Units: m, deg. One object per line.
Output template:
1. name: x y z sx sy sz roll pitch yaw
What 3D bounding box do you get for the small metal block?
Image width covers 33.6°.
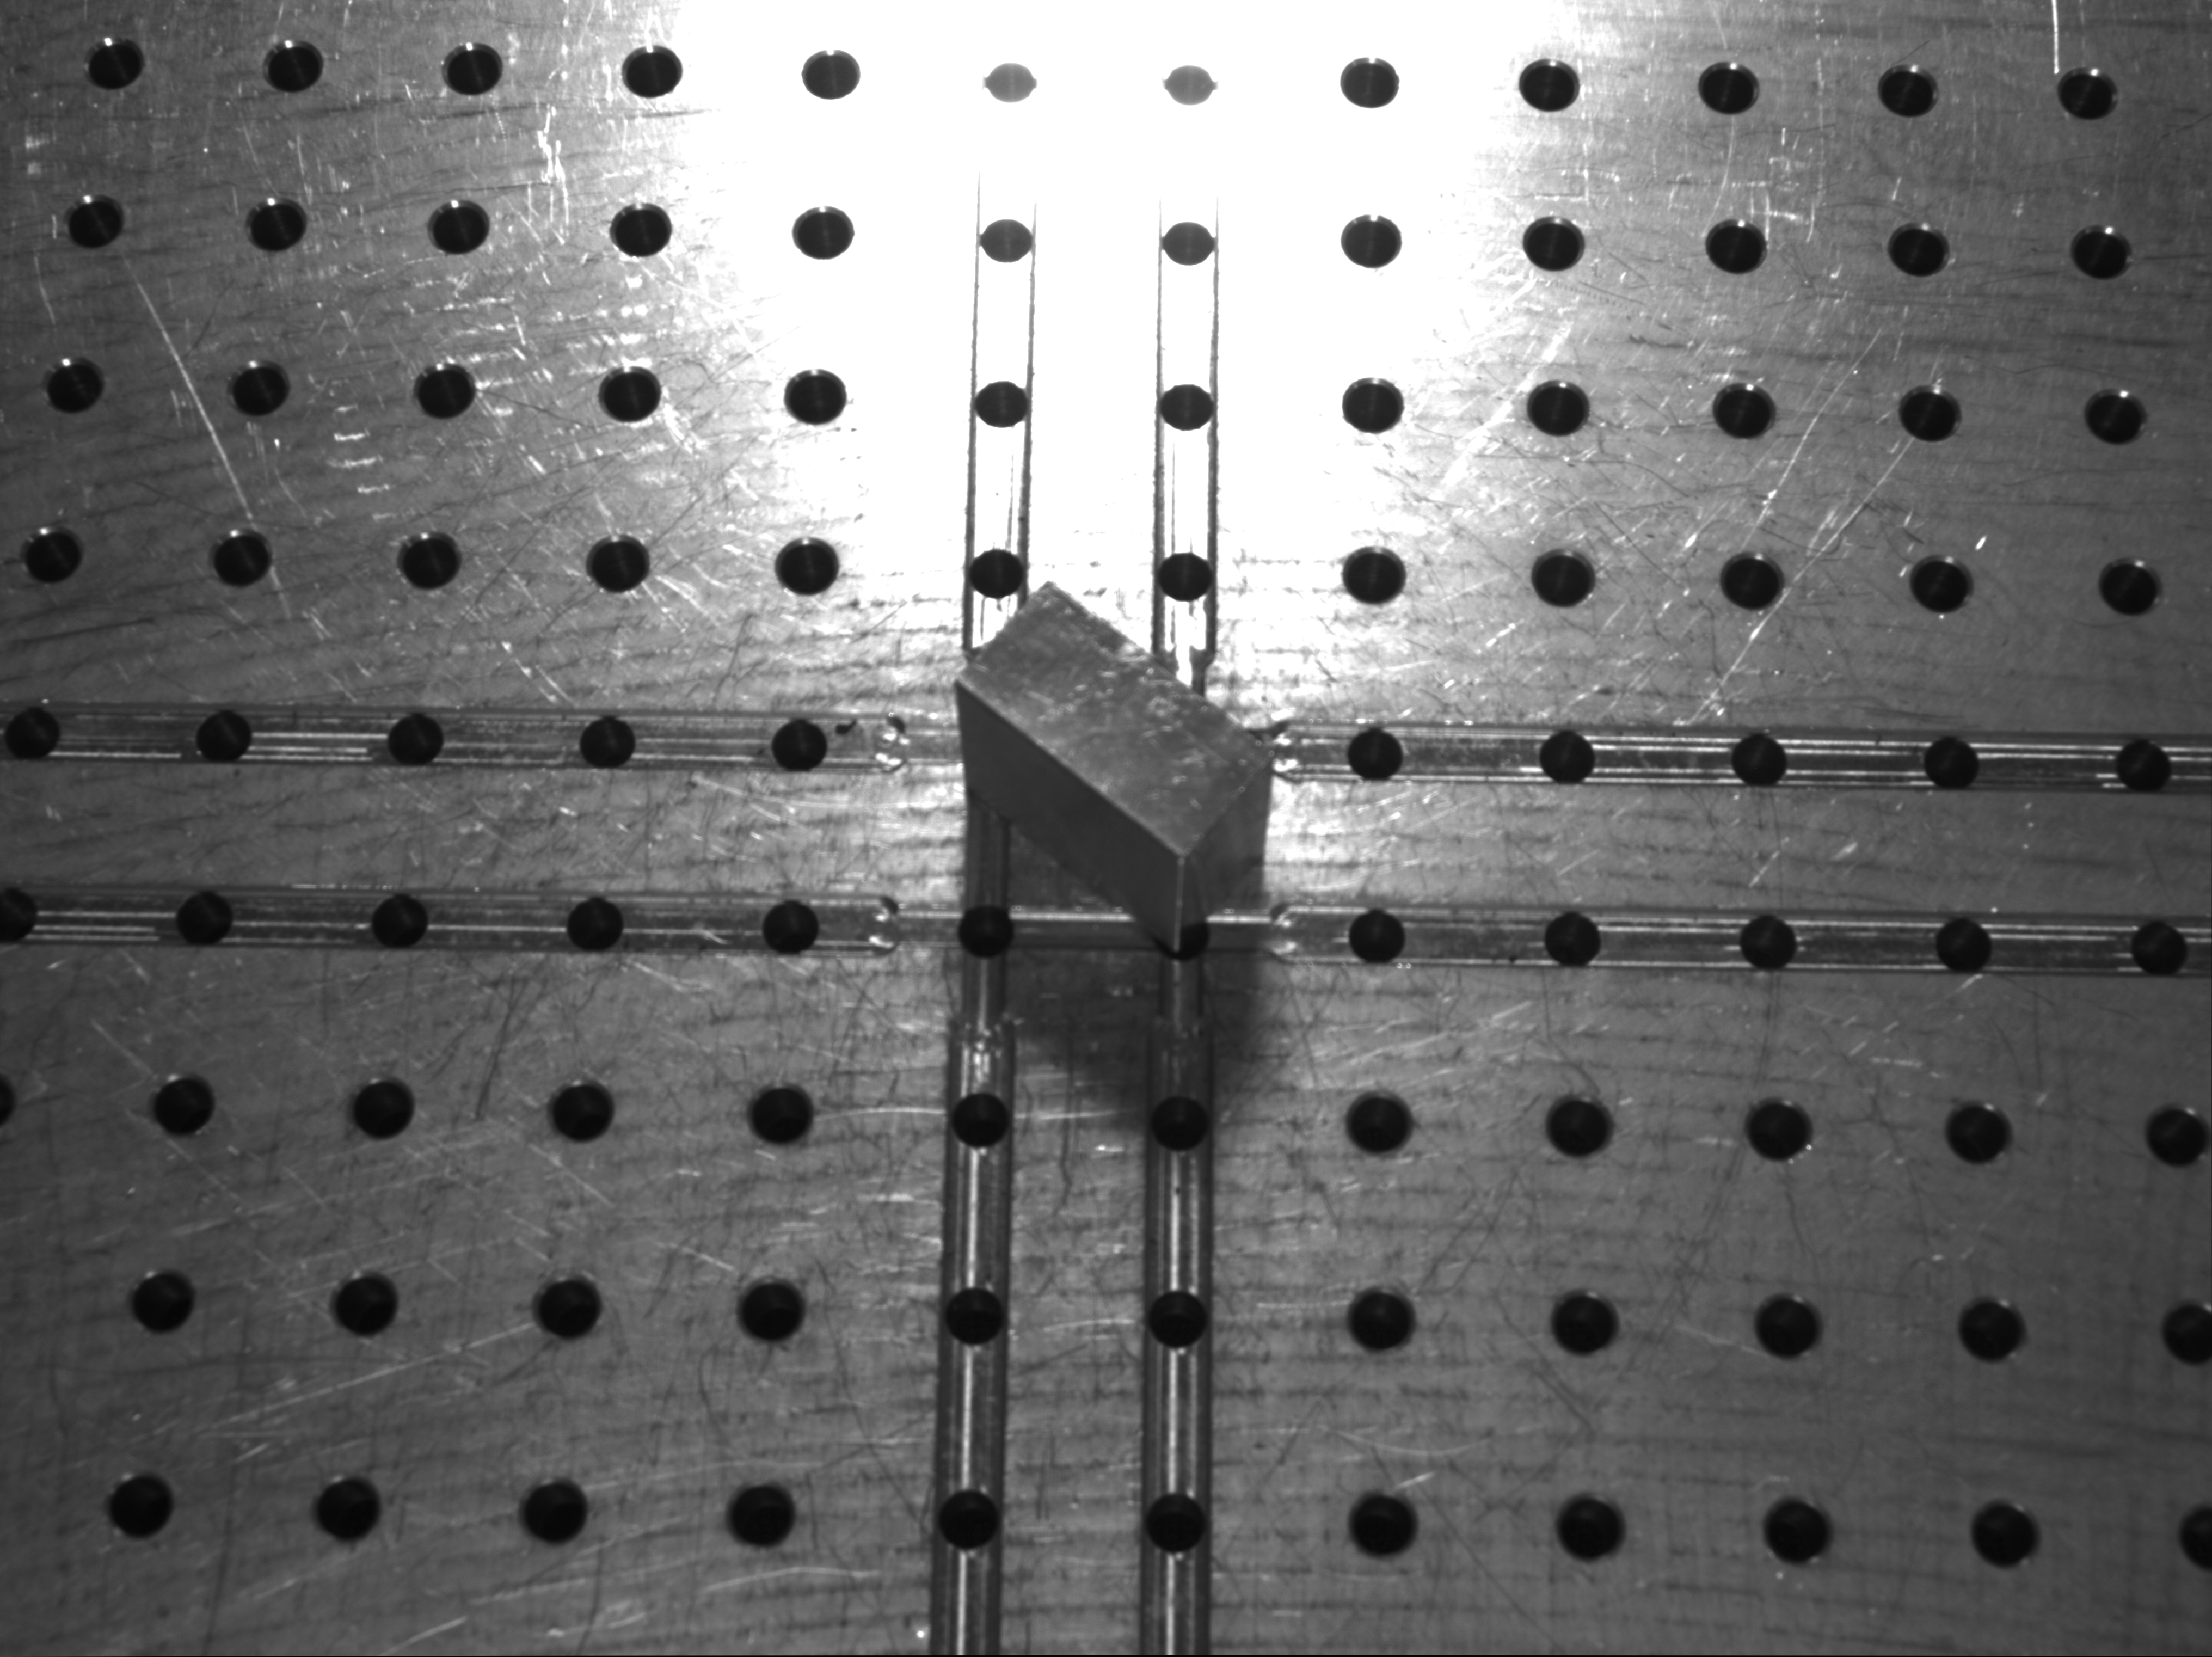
1. small metal block: 0.004 -0.010 0.638 0.050 0.050 0.025 38 74 13
